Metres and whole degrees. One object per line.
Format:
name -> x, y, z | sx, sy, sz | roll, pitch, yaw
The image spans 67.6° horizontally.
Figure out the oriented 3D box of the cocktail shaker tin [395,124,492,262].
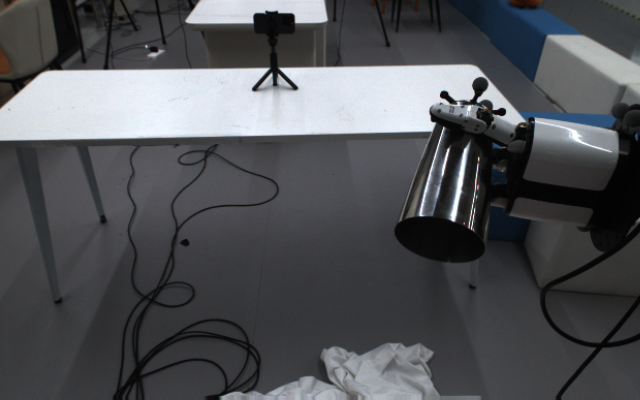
cocktail shaker tin -> 0.148, -0.030, 0.536 | 0.093, 0.093, 0.170 | 13, 59, 16
